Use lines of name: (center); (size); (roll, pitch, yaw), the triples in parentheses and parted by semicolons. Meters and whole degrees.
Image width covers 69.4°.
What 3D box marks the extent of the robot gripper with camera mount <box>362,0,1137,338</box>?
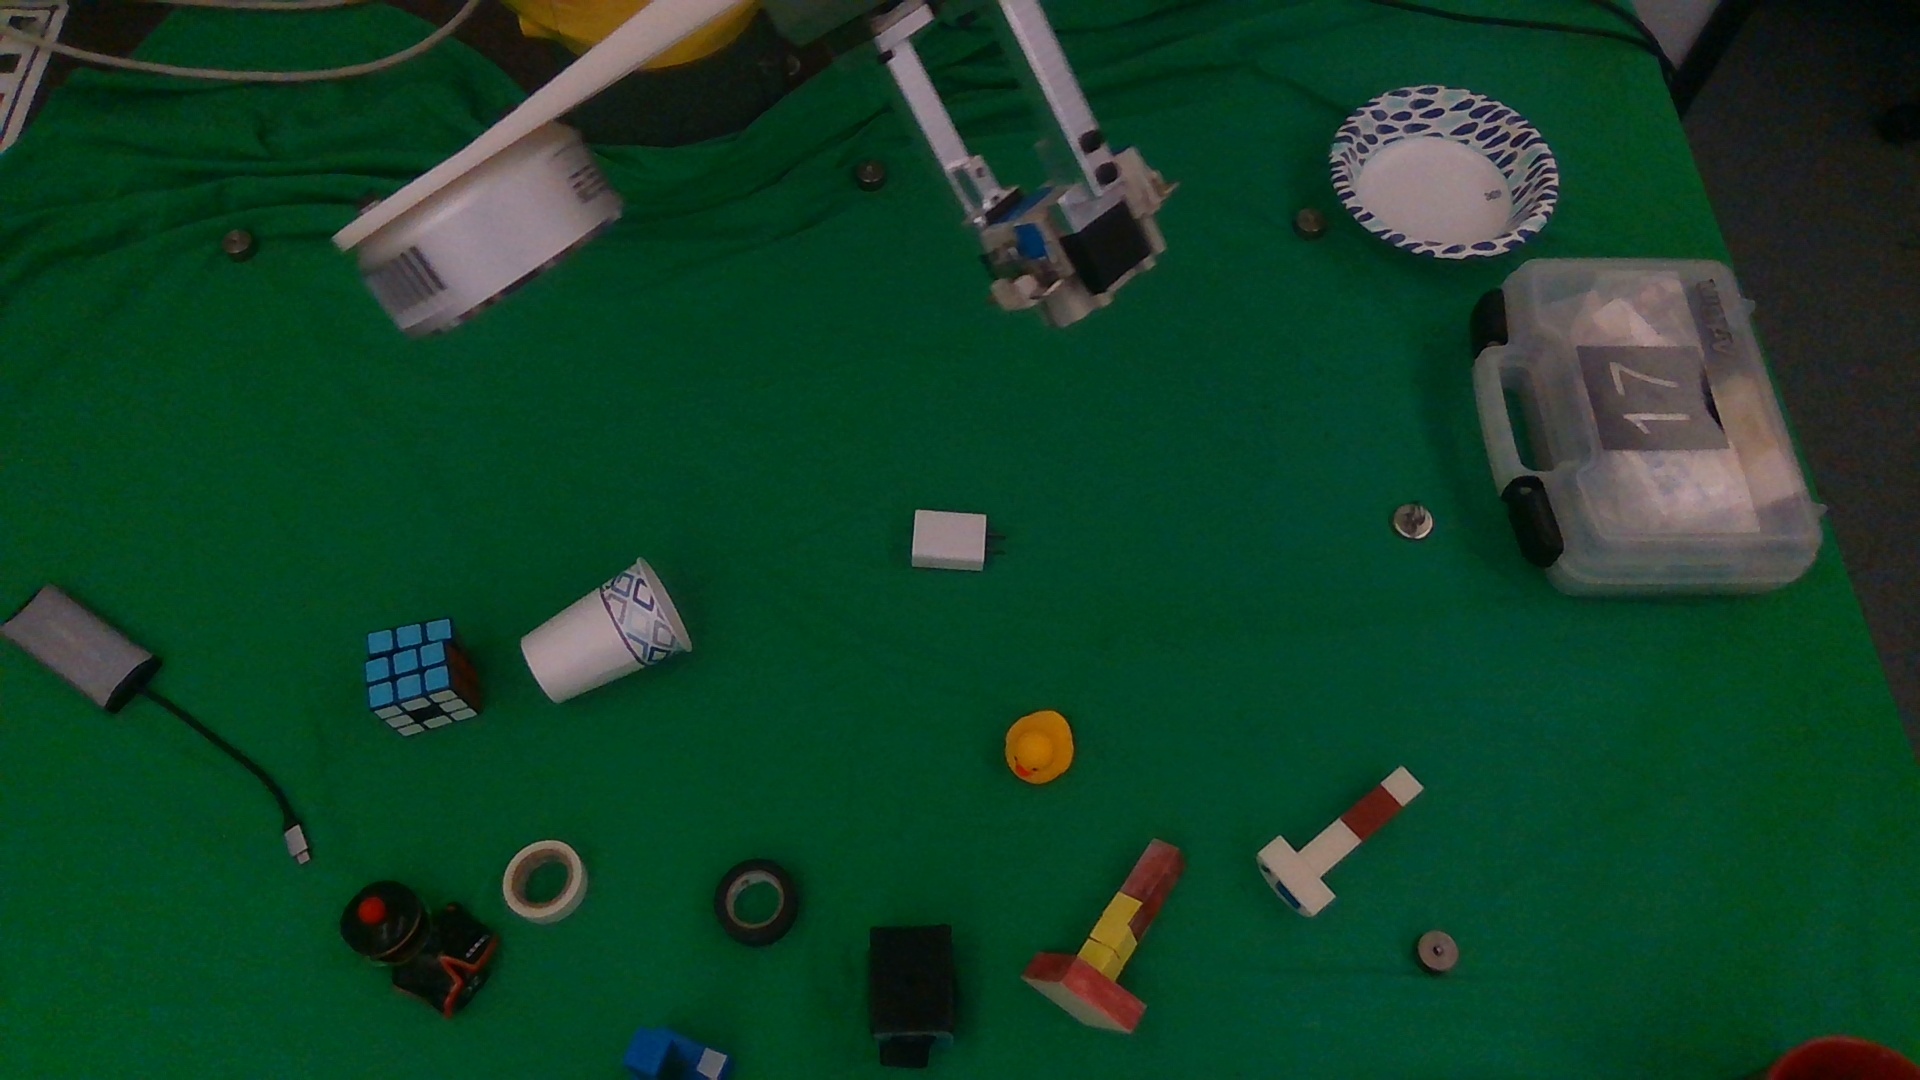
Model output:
robot gripper with camera mount: (-0.050, -0.098, 0.368); (0.193, 0.158, 0.119); (-44, 27, -26)

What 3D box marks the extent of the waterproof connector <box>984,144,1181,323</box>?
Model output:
waterproof connector: (0.039, -0.095, 0.434); (0.065, 0.035, 0.037); (-41, 110, -23)
